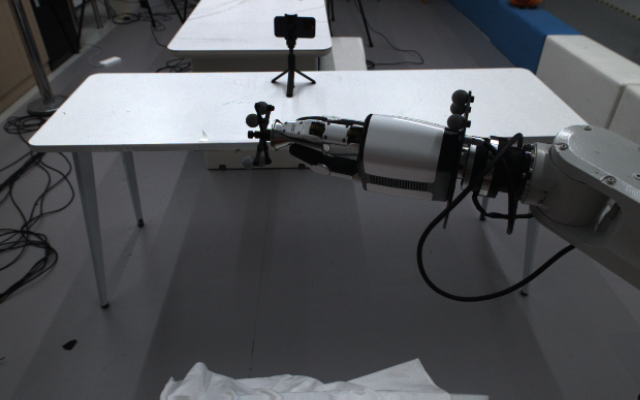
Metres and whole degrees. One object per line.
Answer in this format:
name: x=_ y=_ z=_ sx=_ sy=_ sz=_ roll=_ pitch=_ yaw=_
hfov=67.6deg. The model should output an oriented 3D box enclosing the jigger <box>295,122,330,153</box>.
jigger: x=-0.017 y=-0.082 z=0.605 sx=0.071 sy=0.043 sz=0.043 roll=5 pitch=34 yaw=14
